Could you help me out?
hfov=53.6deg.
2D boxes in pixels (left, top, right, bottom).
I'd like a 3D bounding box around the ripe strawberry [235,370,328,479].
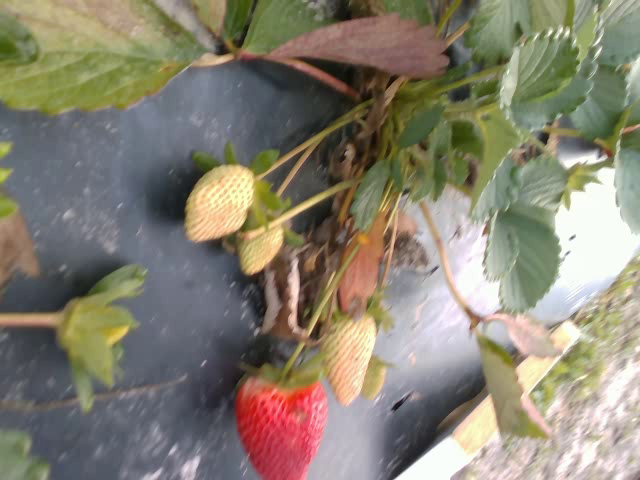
[{"bbox_3d":[-0.014,0.083,0.279,0.050,0.059,0.033,-20,15,-42],"label":"ripe strawberry"}]
